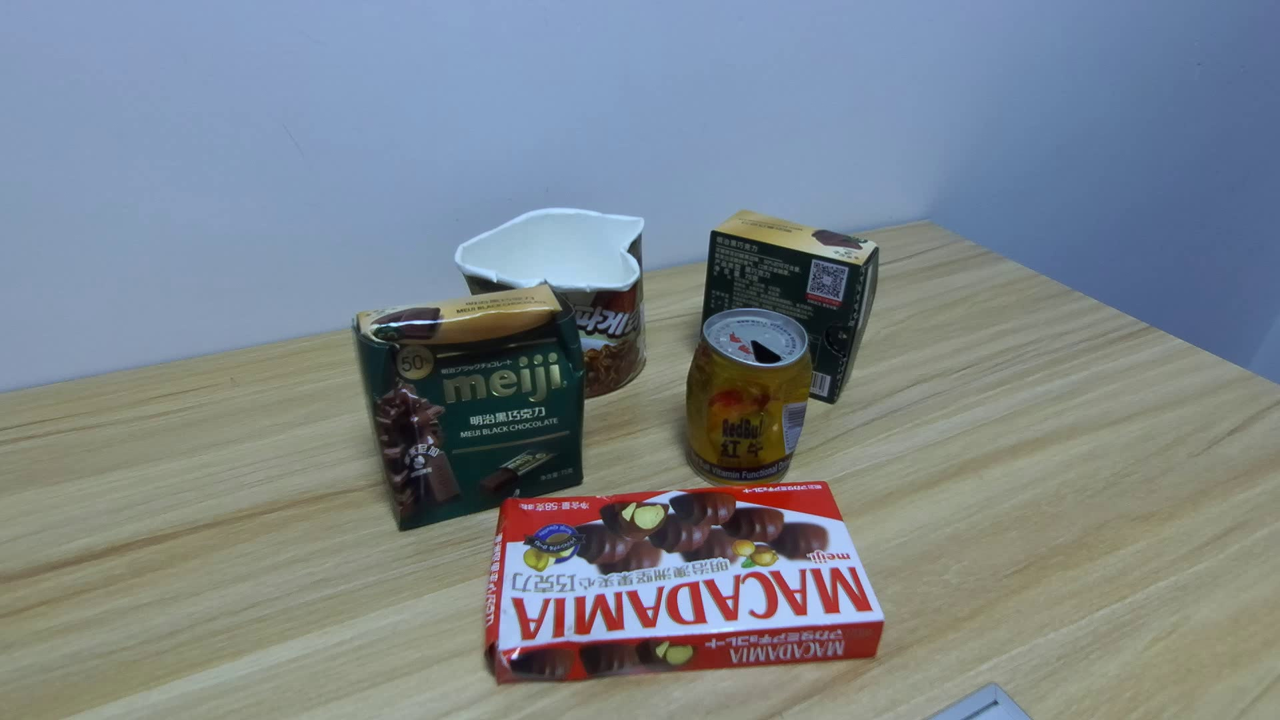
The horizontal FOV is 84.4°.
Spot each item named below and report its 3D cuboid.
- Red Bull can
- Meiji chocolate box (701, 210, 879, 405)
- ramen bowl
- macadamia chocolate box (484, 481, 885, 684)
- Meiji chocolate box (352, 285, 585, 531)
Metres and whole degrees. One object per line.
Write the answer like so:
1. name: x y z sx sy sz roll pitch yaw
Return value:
1. Red Bull can: 0.063 0.023 0.420 0.072 0.092 0.072 2 33 -1
2. Meiji chocolate box: 0.106 -0.040 0.504 0.113 0.111 0.058 18 34 24
3. ramen bowl: -0.060 -0.042 0.511 0.134 0.097 0.113 1 35 -5
4. macadamia chocolate box: 0.018 0.105 0.355 0.183 0.028 0.105 -2 34 -4
5. Meiji chocolate box: -0.092 0.023 0.401 0.117 0.117 0.051 -11 27 -20
